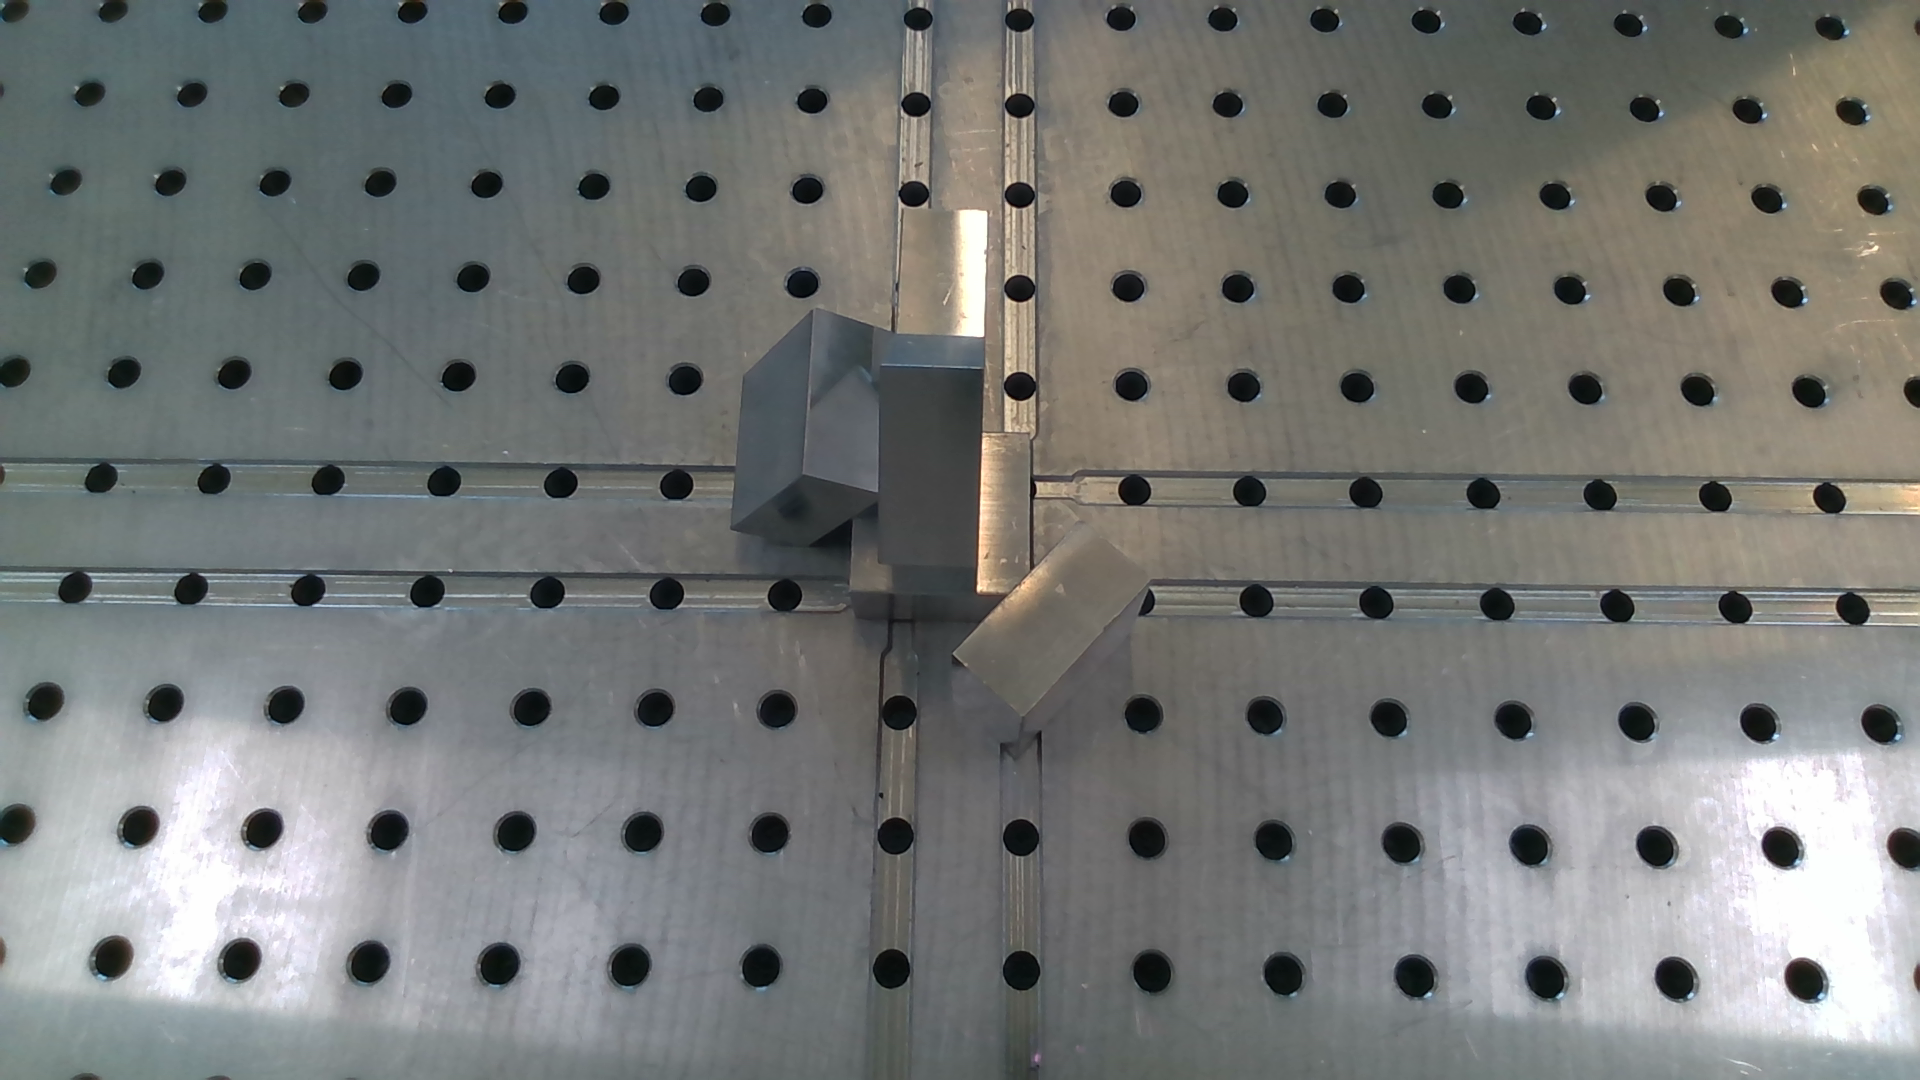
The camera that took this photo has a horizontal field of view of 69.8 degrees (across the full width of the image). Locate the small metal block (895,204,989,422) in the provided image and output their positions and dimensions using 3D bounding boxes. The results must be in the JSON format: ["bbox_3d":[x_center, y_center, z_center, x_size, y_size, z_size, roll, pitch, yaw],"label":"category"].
[{"bbox_3d":[-0.005,-0.063,0.407,0.025,0.050,0.050,1,70,1],"label":"small metal block"}]

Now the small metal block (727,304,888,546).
[{"bbox_3d":[-0.043,-0.031,0.393,0.025,0.050,0.050,13,67,-29],"label":"small metal block"}]

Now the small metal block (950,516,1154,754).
[{"bbox_3d":[0.024,0.027,0.375,0.025,0.050,0.050,41,76,13],"label":"small metal block"}]

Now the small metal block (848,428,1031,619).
[{"bbox_3d":[-0.005,-0.005,0.400,0.050,0.025,0.050,1,71,0],"label":"small metal block"}]

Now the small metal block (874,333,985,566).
[{"bbox_3d":[-0.007,-0.025,0.356,0.025,0.050,0.050,2,107,1],"label":"small metal block"}]
